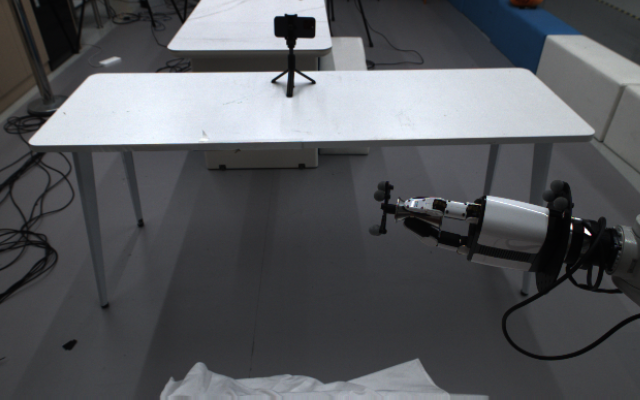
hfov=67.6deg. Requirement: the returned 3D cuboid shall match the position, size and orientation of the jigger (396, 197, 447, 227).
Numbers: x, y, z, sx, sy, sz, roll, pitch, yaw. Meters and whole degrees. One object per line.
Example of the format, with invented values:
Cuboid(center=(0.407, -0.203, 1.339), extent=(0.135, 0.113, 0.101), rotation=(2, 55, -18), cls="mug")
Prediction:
Cuboid(center=(0.155, 0.015, 0.723), extent=(0.071, 0.043, 0.043), rotation=(7, 35, 13), cls="jigger")
